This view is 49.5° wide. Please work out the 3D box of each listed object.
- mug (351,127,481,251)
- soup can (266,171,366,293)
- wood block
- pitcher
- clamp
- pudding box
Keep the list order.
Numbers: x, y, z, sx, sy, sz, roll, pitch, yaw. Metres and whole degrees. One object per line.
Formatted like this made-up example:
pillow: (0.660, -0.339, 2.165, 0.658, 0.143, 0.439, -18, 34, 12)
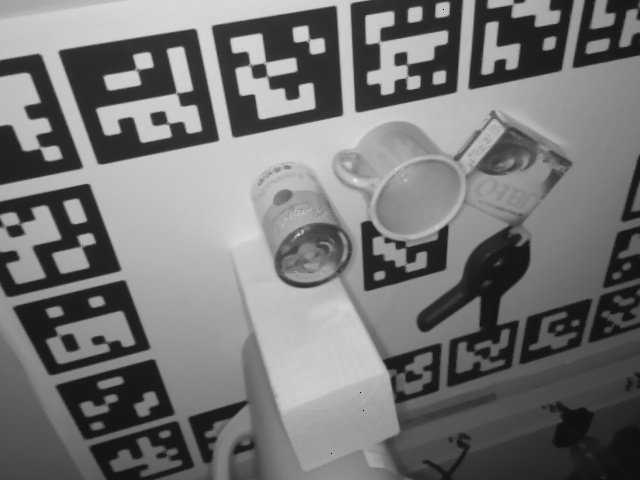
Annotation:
mug: (0.078, -0.054, 0.632, 0.118, 0.081, 0.092, 18, 119, -31)
soup can: (-0.006, -0.010, 0.617, 0.068, 0.102, 0.067, -9, 125, -13)
wood block: (0.000, 0.094, 0.627, 0.090, 0.207, 0.090, -14, 128, -5)
pitcher: (-0.009, 0.204, 0.684, 0.190, 0.242, 0.132, -16, 131, -12)
clamp: (0.205, 0.065, 0.803, 0.123, 0.037, 0.163, 15, 117, -21)
pudding box: (0.212, -0.064, 0.707, 0.115, 0.038, 0.089, 20, 112, -32)
